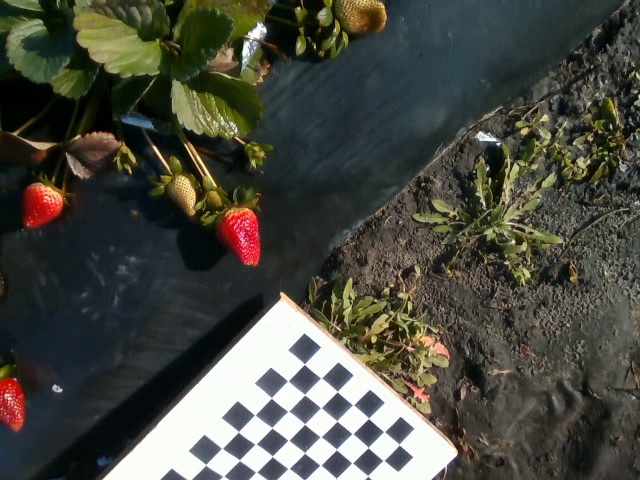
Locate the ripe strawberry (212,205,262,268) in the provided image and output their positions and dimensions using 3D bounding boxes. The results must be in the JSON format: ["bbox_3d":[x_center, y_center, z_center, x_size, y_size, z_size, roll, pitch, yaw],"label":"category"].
[{"bbox_3d":[-0.067,-0.001,0.510,0.042,0.059,0.042,-26,7,-5],"label":"ripe strawberry"}]

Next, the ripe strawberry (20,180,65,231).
[{"bbox_3d":[-0.230,-0.026,0.505,0.034,0.047,0.035,43,-3,-17],"label":"ripe strawberry"}]

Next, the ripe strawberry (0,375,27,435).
[{"bbox_3d":[-0.282,0.151,0.553,0.045,0.055,0.042,-39,-13,-1],"label":"ripe strawberry"}]
